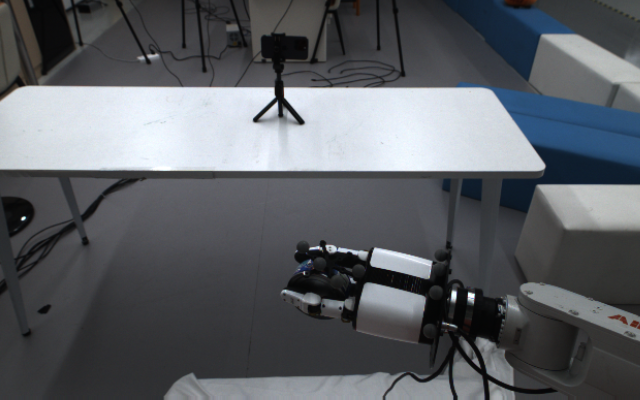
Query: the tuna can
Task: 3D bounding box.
[{"bbox_3d":[0.003,0.124,0.673,0.085,0.085,0.034,12,33,14],"label":"tuna can"}]
